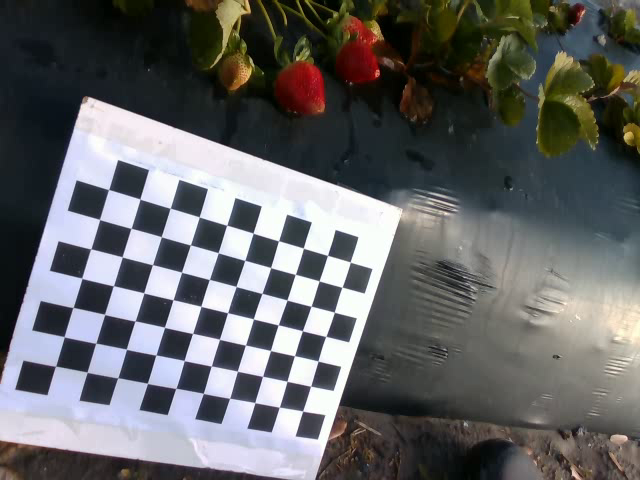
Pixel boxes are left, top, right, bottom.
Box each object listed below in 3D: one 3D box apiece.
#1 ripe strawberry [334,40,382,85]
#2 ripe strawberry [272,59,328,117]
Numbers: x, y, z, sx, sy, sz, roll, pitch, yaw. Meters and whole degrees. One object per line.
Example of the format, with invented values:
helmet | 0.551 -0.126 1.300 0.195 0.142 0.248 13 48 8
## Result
ripe strawberry | 0.039 -0.172 0.606 0.055 0.045 0.042 39 -8 30
ripe strawberry | -0.013 -0.134 0.549 0.050 0.050 0.065 -24 51 -14
